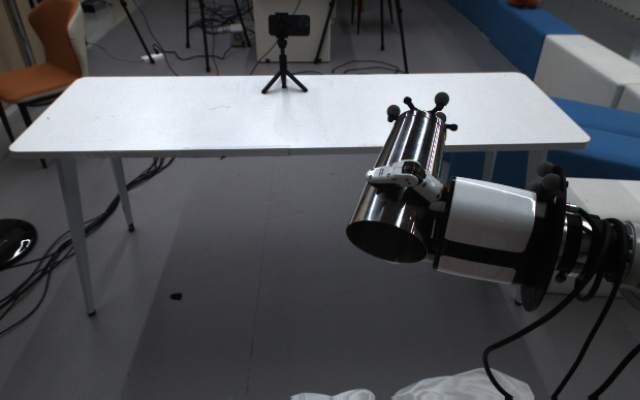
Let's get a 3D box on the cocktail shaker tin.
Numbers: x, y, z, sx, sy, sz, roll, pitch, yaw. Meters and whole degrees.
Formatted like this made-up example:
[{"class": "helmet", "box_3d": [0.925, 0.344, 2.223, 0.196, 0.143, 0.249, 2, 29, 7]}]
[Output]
[{"class": "cocktail shaker tin", "box_3d": [0.099, -0.022, 0.570, 0.093, 0.093, 0.170, 13, 60, 16]}]
